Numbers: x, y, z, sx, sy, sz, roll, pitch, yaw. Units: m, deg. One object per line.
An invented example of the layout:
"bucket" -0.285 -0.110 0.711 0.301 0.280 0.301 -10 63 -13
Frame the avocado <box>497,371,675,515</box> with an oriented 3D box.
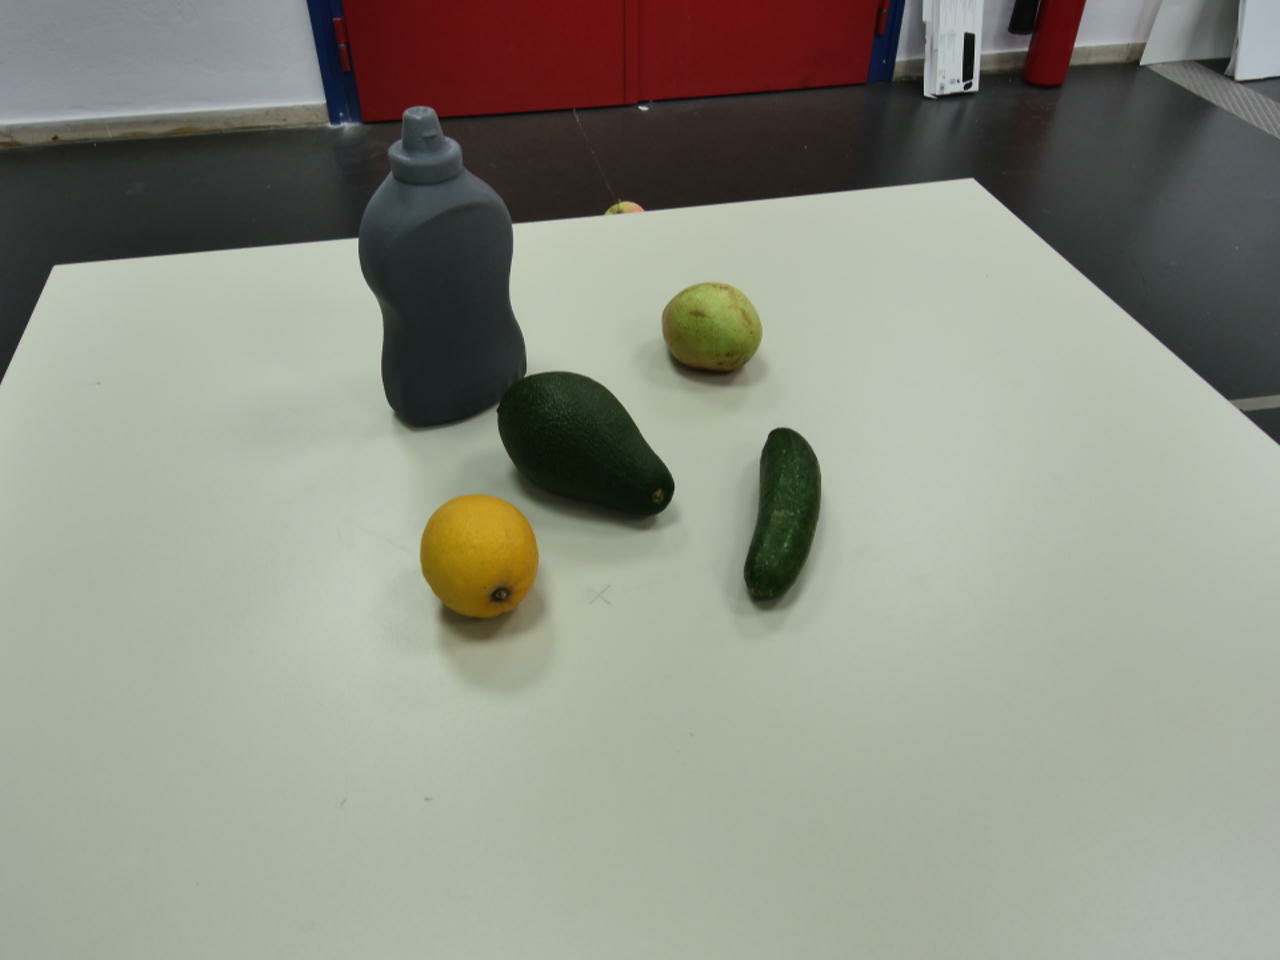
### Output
"avocado" -0.034 -0.021 0.578 0.072 0.071 0.109 -25 45 -27
